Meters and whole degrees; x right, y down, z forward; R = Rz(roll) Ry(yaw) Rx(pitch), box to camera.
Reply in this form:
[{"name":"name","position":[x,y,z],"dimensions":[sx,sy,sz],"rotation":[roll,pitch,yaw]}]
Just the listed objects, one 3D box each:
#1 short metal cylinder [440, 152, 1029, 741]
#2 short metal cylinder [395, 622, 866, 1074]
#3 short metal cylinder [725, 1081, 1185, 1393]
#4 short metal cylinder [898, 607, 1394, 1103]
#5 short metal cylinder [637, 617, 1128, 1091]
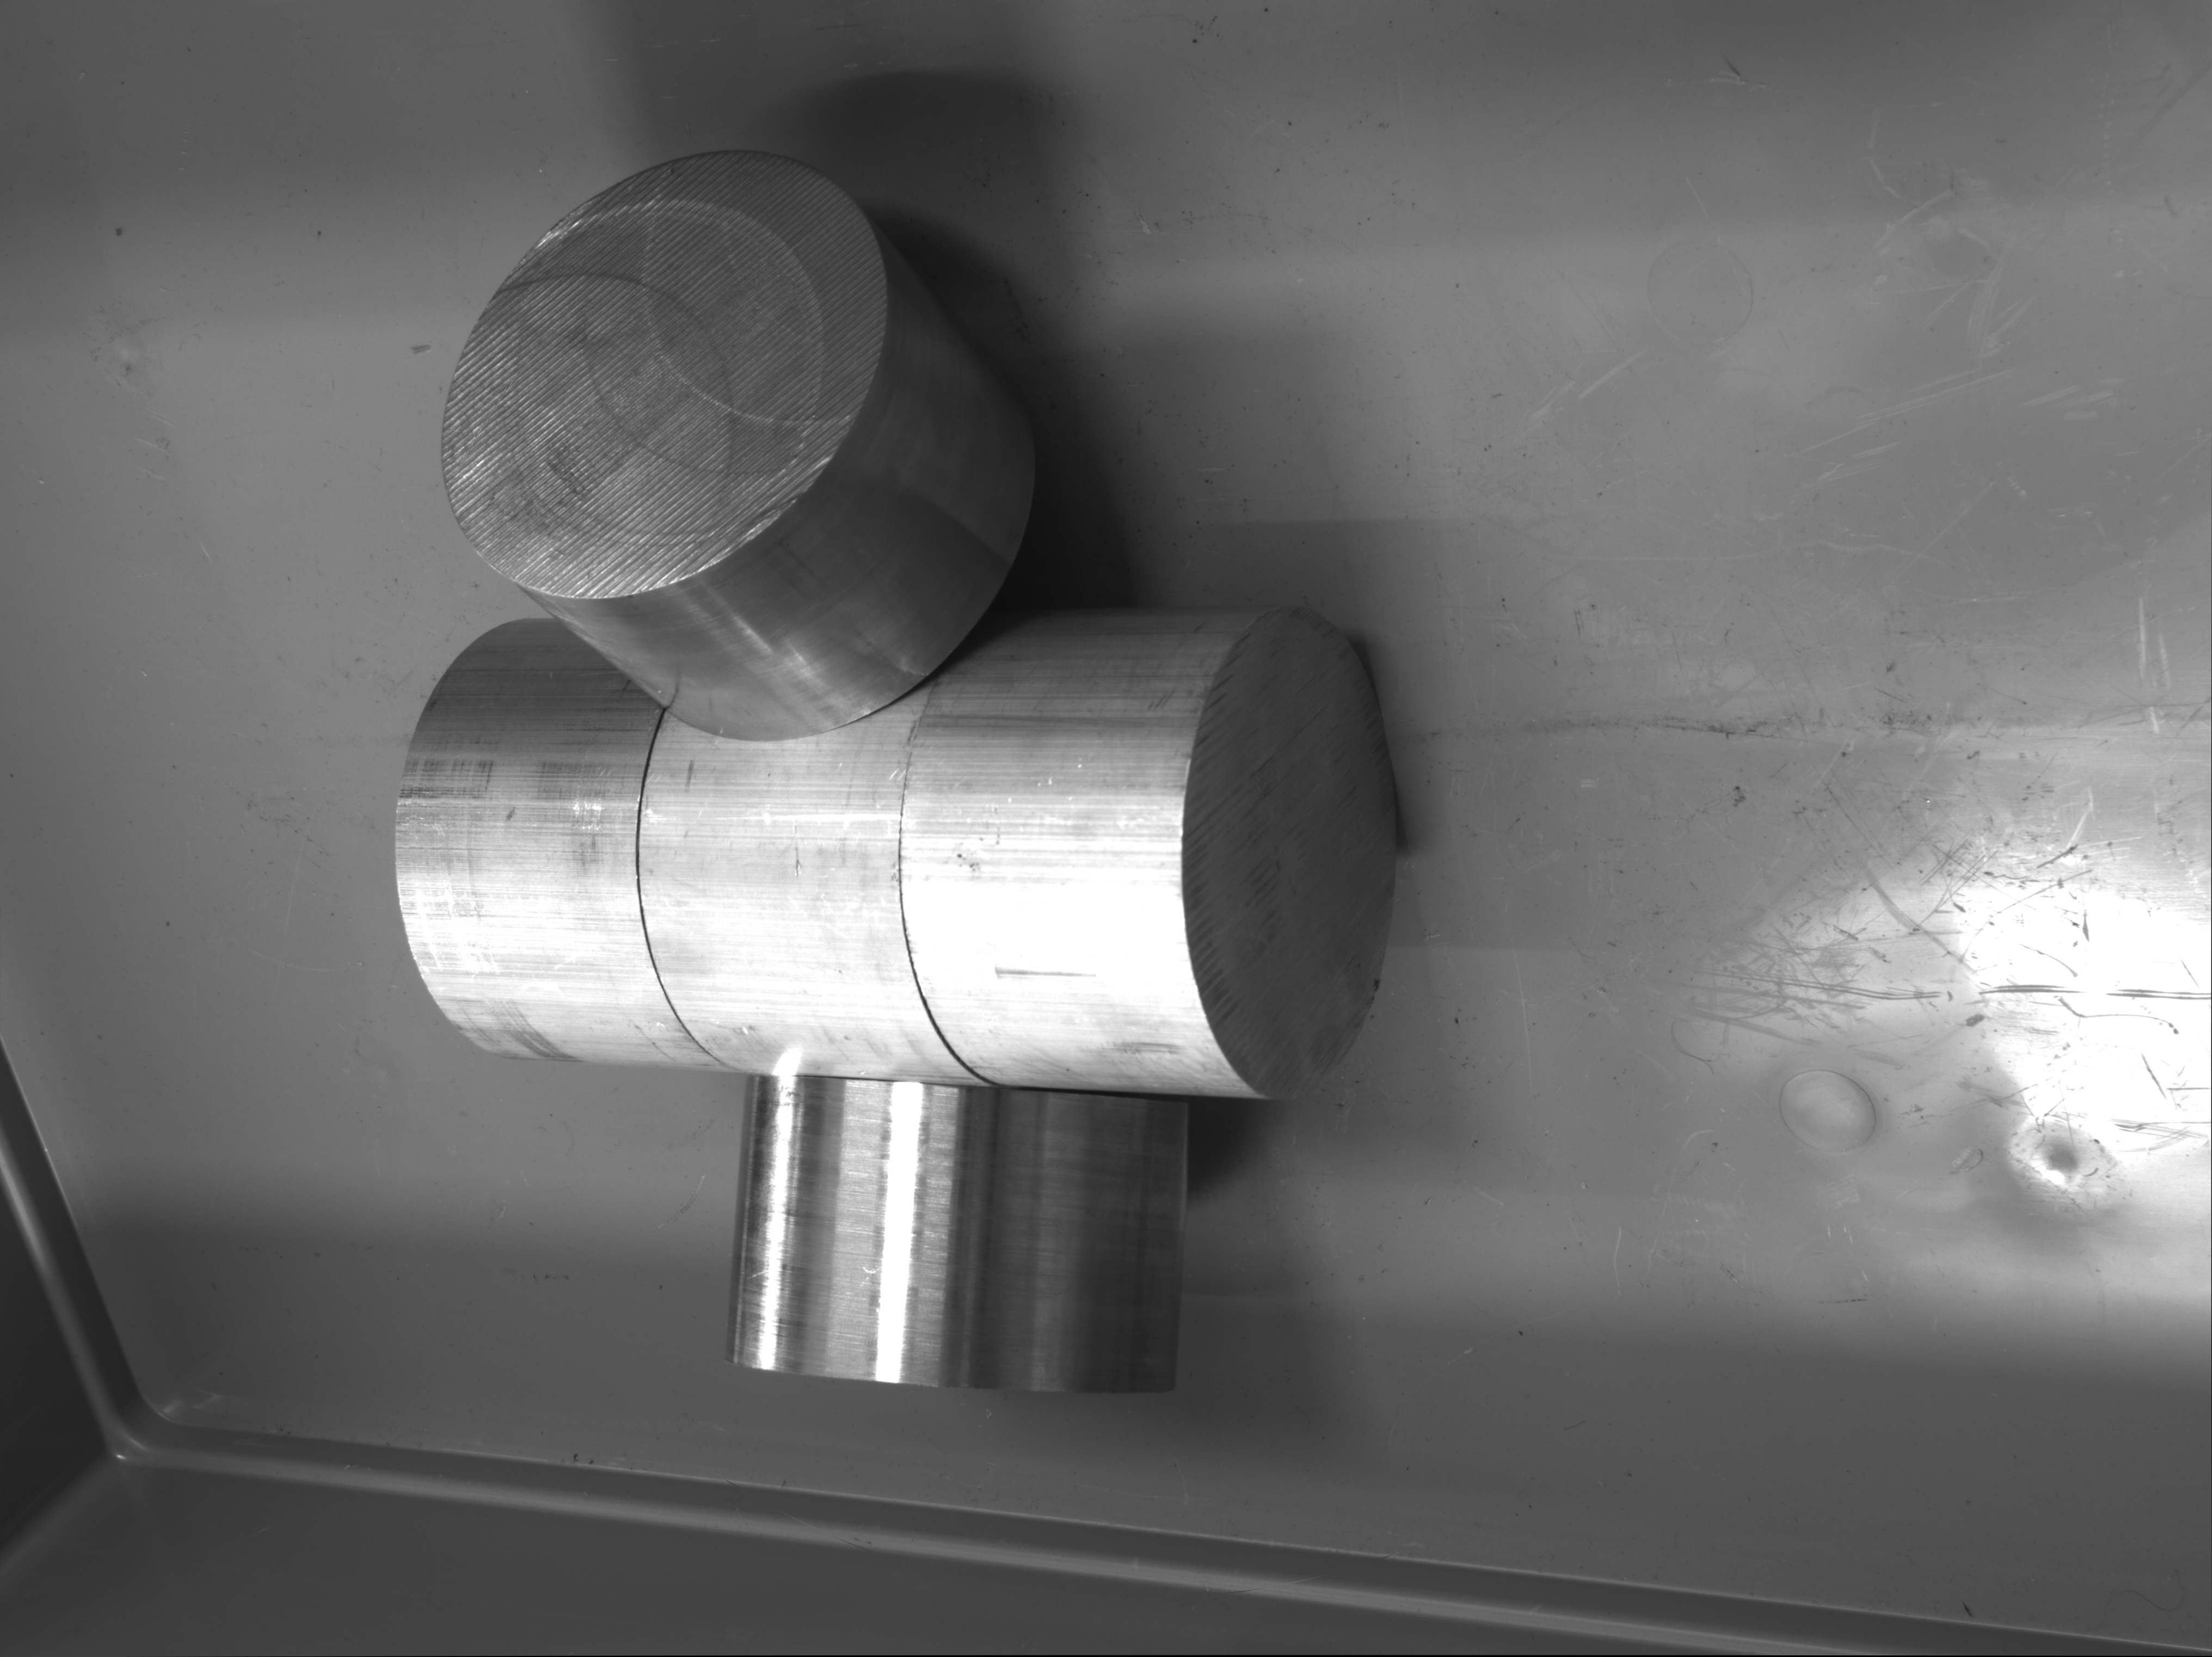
[{"name":"short metal cylinder","position":[-0.059,-0.061,0.590],"dimensions":[0.080,0.080,0.050],"rotation":[2,157,27]},{"name":"short metal cylinder","position":[-0.081,0.003,0.650],"dimensions":[0.050,0.080,0.080],"rotation":[1,119,28]},{"name":"short metal cylinder","position":[-0.026,0.072,0.654],"dimensions":[0.080,0.080,0.050],"rotation":[0,84,28]},{"name":"short metal cylinder","position":[0.008,0.004,0.603],"dimensions":[0.050,0.080,0.080],"rotation":[1,119,28]},{"name":"short metal cylinder","position":[-0.036,0.003,0.627],"dimensions":[0.050,0.080,0.080],"rotation":[1,119,28]}]
